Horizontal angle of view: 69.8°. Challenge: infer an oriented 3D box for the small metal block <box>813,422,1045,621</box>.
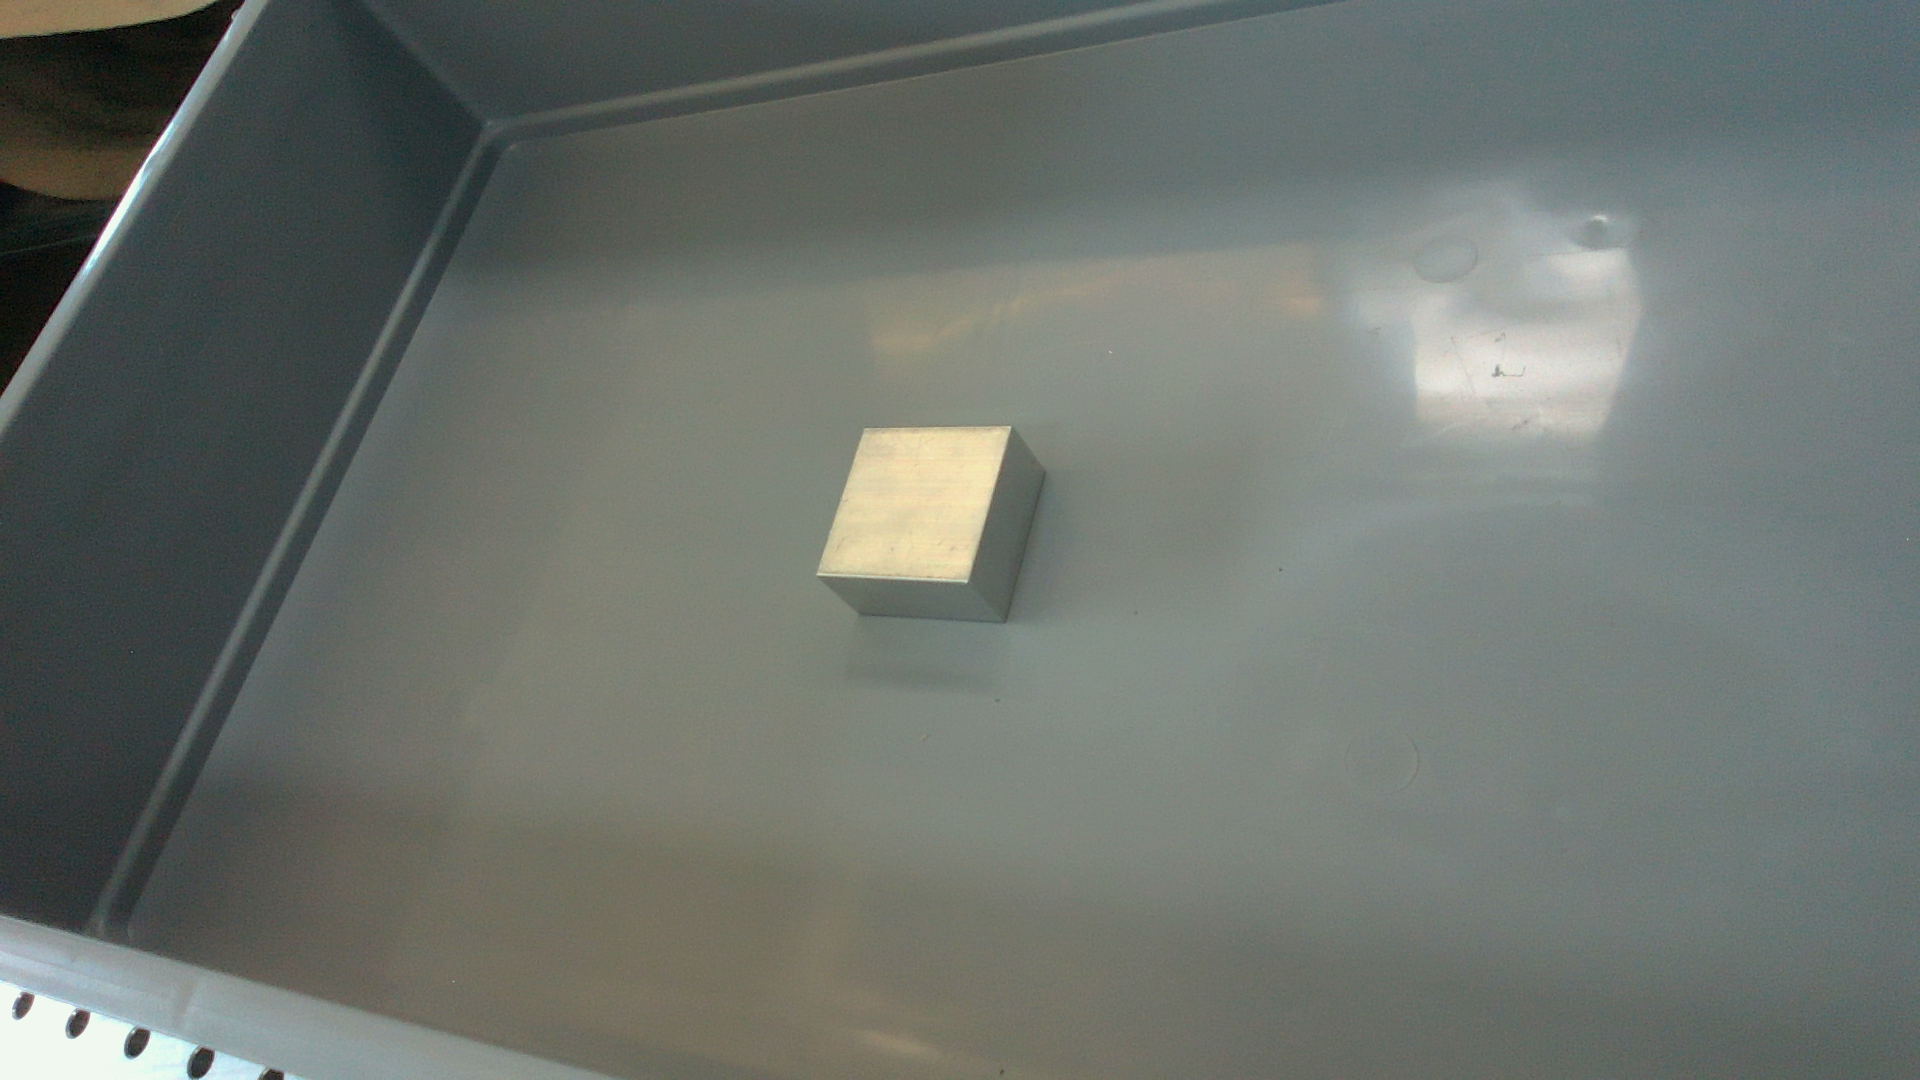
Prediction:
[{"bbox_3d":[-0.008,-0.006,0.398,0.050,0.025,0.050,1,62,29],"label":"small metal block"}]
